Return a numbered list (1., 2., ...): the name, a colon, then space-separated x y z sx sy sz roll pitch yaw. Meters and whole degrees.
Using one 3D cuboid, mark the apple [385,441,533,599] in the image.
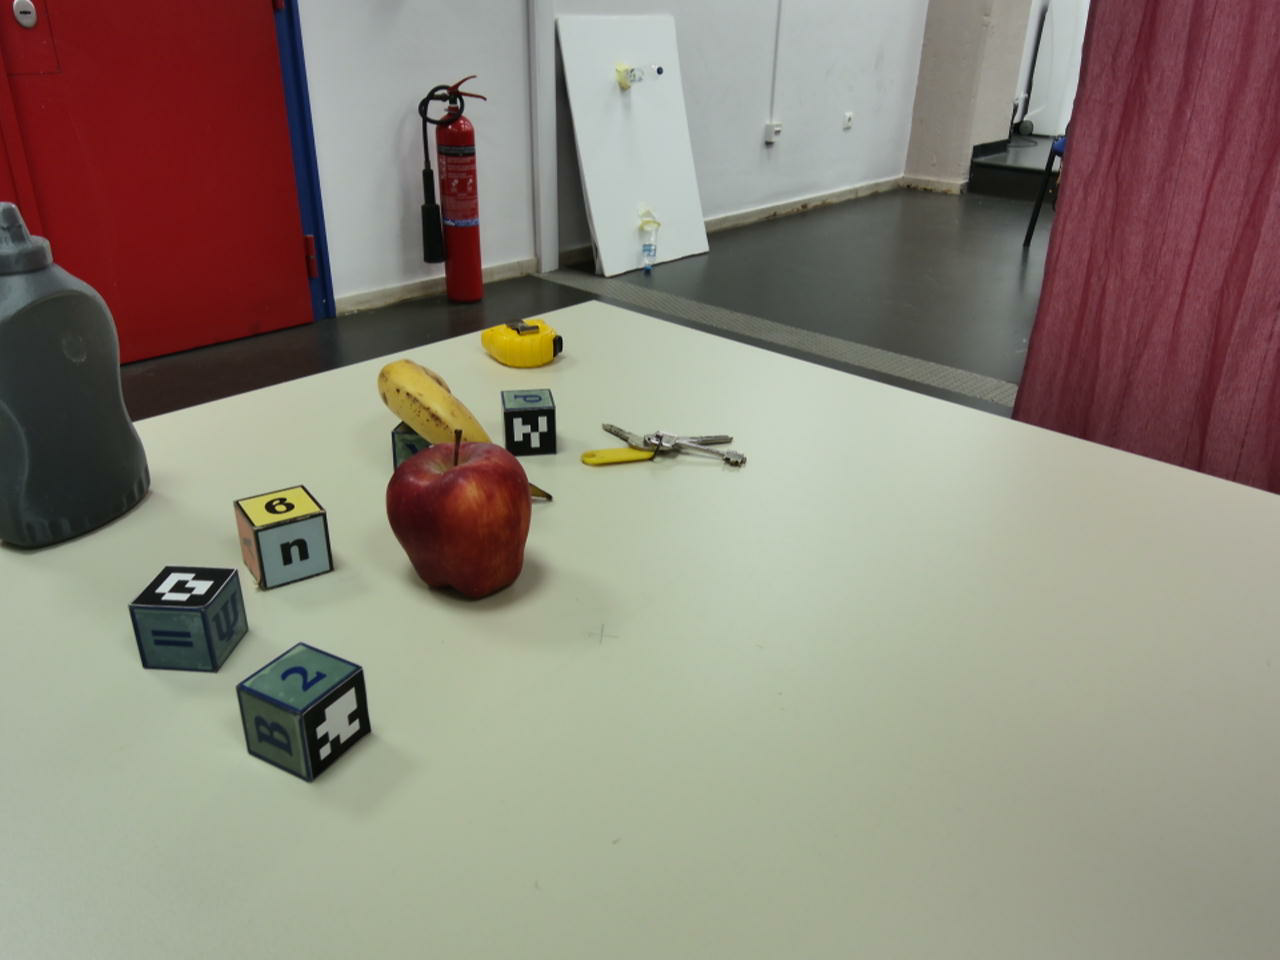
1. apple: -0.100 0.016 0.556 0.083 0.090 0.083 2 25 -1
